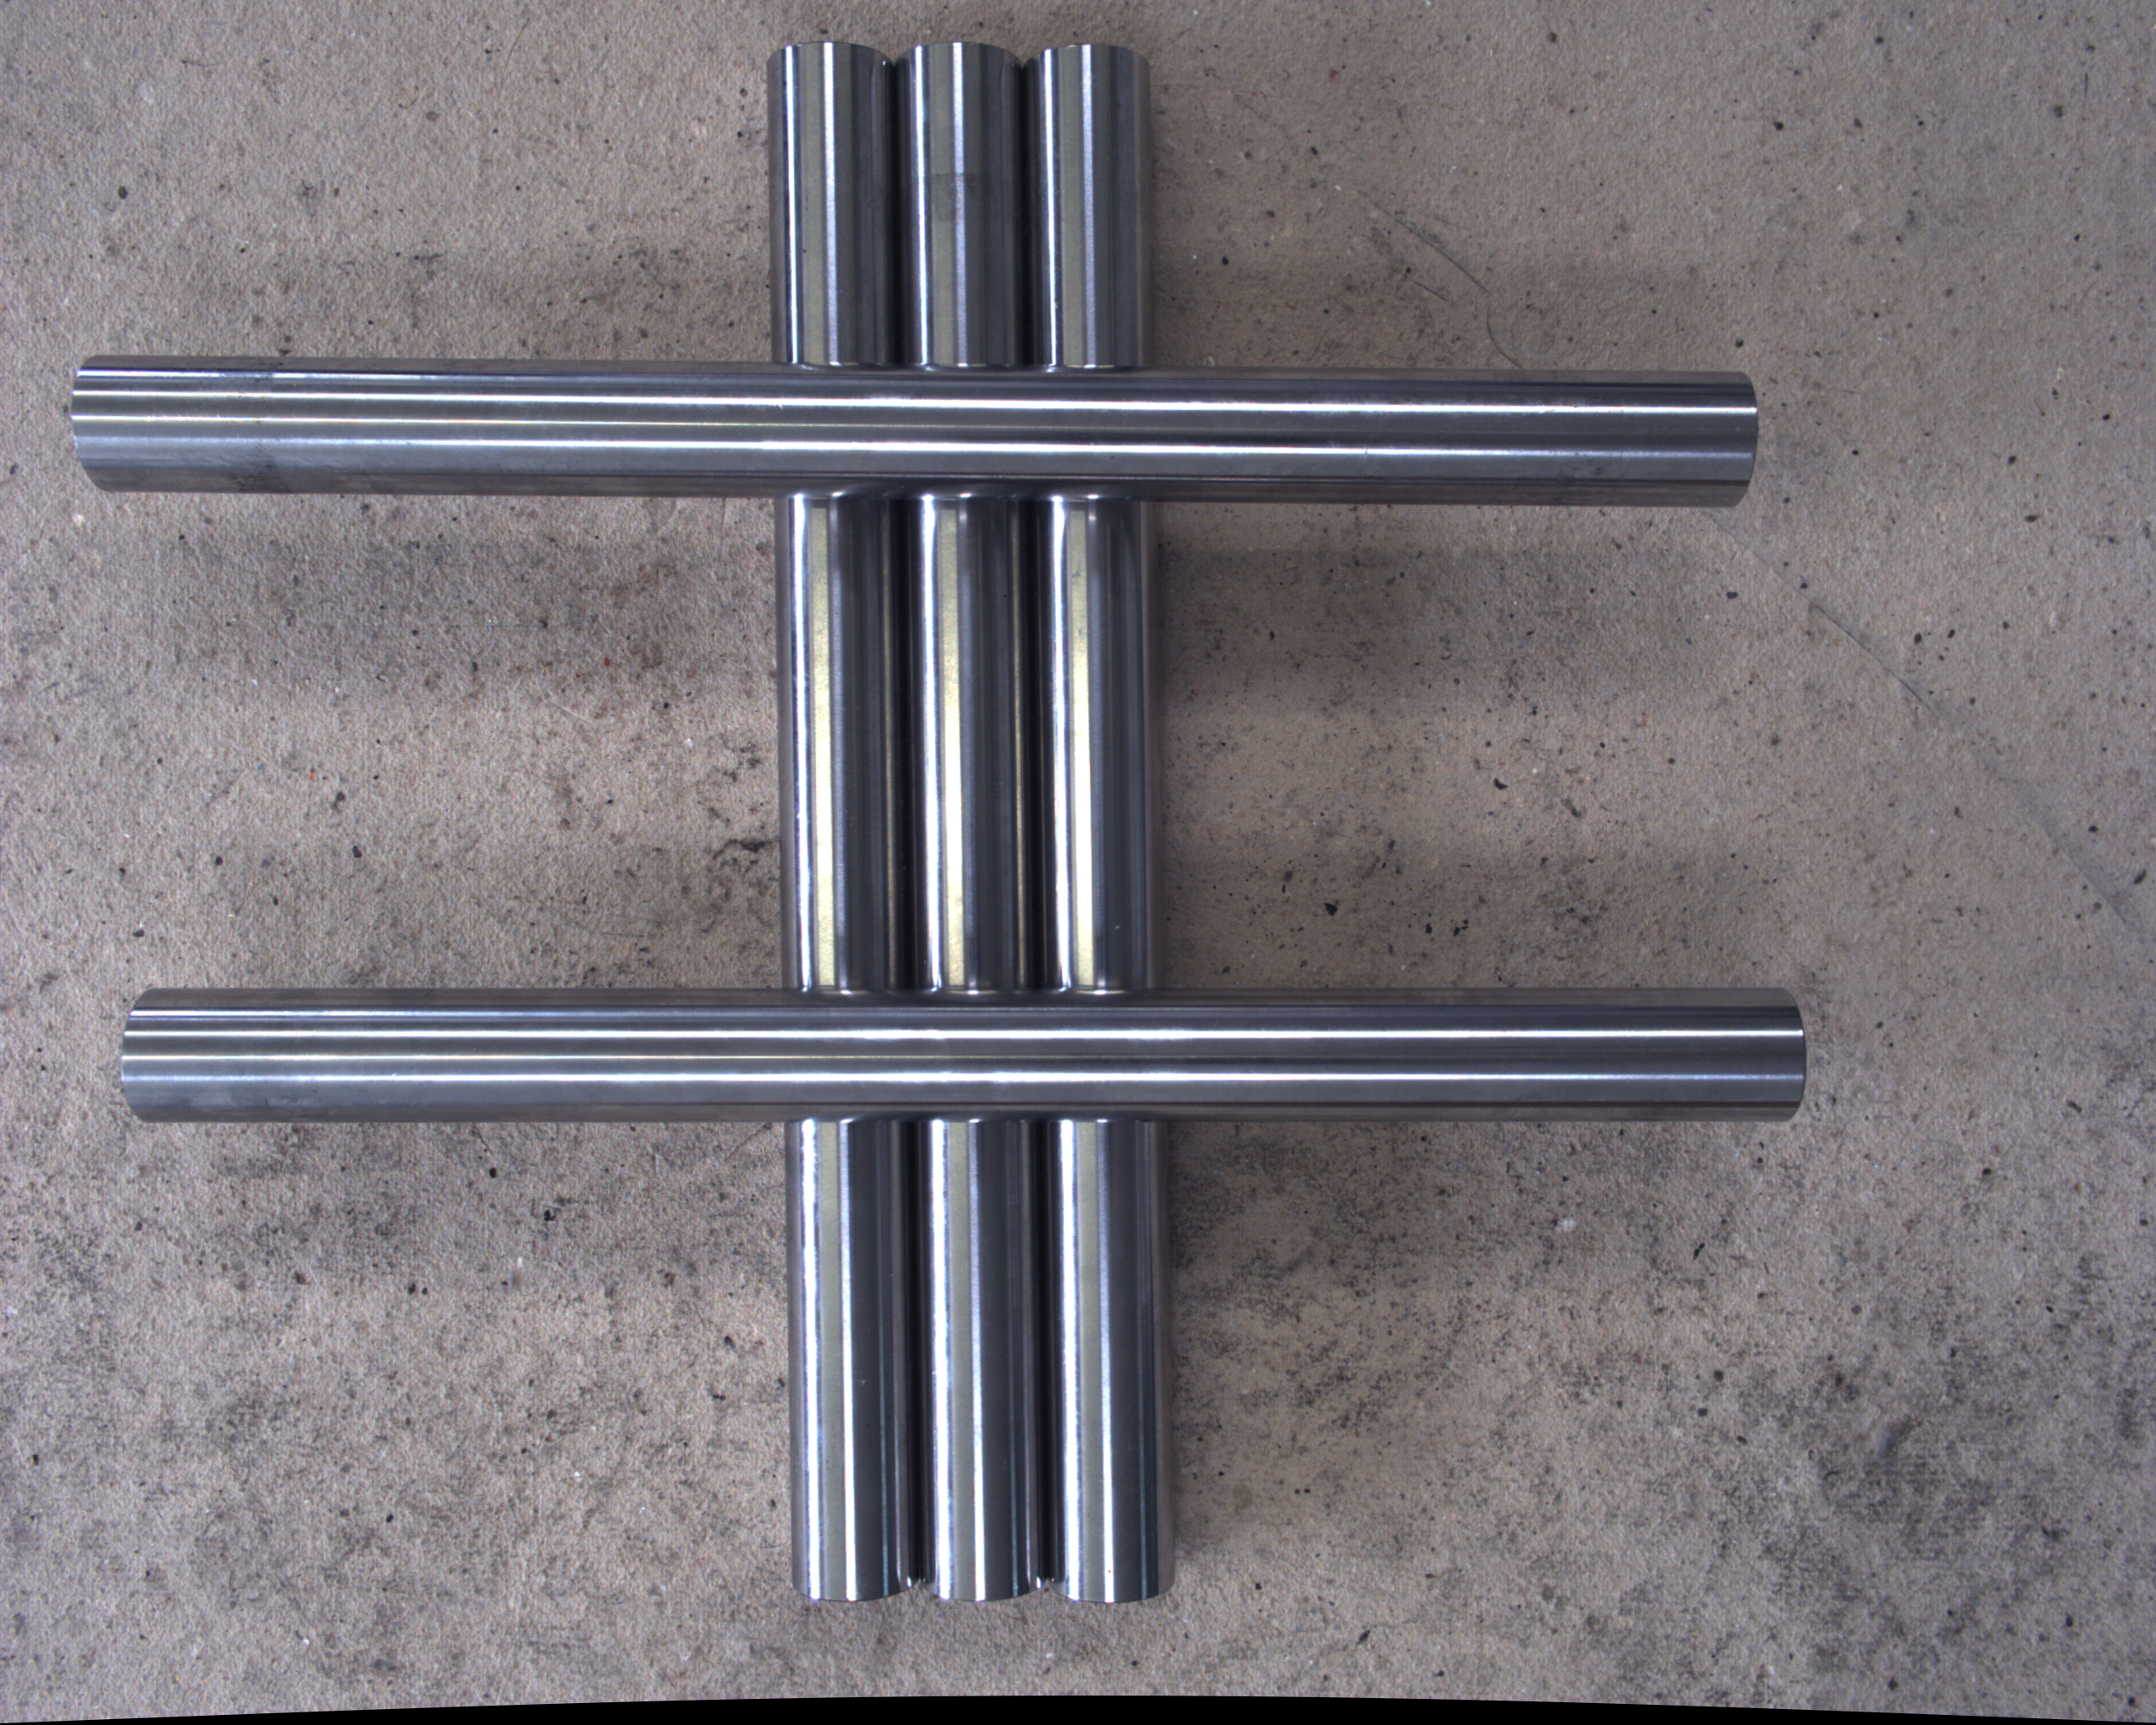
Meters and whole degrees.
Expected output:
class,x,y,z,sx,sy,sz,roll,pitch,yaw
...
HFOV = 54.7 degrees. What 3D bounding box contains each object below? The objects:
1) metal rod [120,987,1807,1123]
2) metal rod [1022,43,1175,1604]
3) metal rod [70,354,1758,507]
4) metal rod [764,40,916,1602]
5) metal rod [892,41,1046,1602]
class,x,y,z,sx,sy,sz,roll,pitch,yaw
metal rod,-0.020,0.035,0.386,0.302,0.025,0.025,0,90,-1
metal rod,0.004,-0.007,0.411,0.025,0.025,0.298,-1,90,0
metal rod,-0.029,-0.080,0.386,0.302,0.025,0.025,0,90,-1
metal rod,-0.047,-0.008,0.411,0.025,0.025,0.298,-1,90,0
metal rod,-0.022,-0.008,0.411,0.025,0.025,0.298,-1,90,0
